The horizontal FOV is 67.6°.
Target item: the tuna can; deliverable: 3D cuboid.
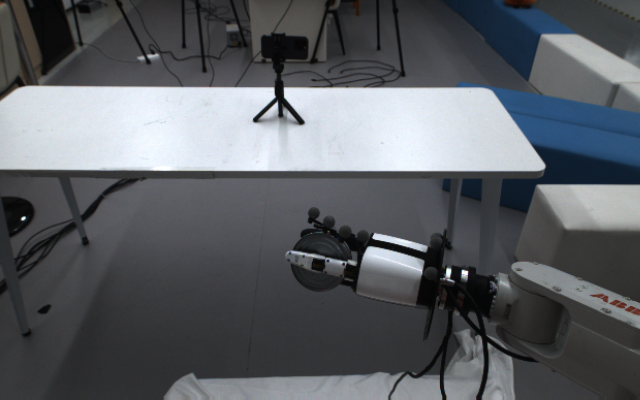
[{"bbox_3d":[0.005,0.087,0.703,0.085,0.085,0.034,14,2,16],"label":"tuna can"}]
